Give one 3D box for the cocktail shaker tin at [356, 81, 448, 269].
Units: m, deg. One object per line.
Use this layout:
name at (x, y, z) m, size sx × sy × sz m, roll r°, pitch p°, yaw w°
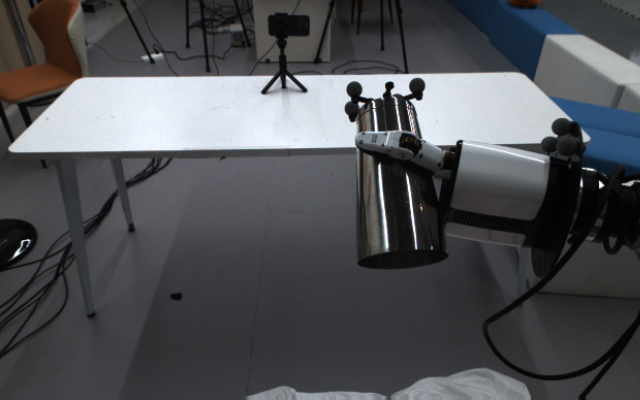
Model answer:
cocktail shaker tin at (0.080, -0.019, 0.515) m, size 0.093 × 0.093 × 0.170 m, roll -2°, pitch 71°, yaw -6°
